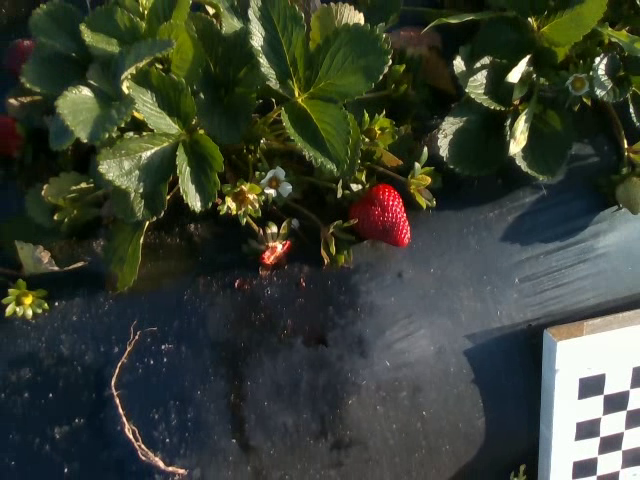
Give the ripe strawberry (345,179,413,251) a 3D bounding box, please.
[{"bbox_3d":[0.051,-0.014,0.445,0.052,0.052,0.041,-39,-34,7],"label":"ripe strawberry"}]
